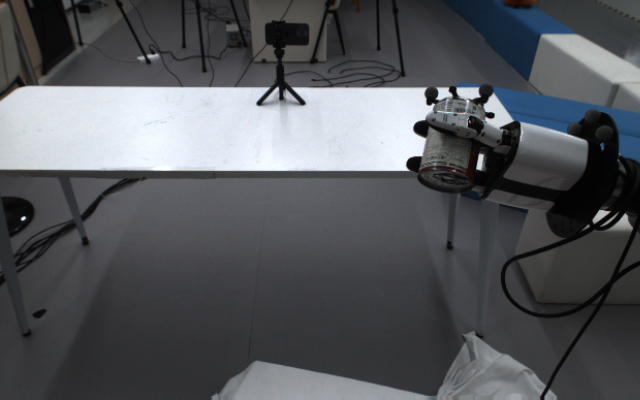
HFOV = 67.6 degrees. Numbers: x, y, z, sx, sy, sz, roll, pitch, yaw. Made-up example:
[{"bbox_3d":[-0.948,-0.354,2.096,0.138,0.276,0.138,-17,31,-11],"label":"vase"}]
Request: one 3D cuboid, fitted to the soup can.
[{"bbox_3d":[0.166,-0.069,0.605,0.067,0.067,0.101,11,72,13],"label":"soup can"}]
